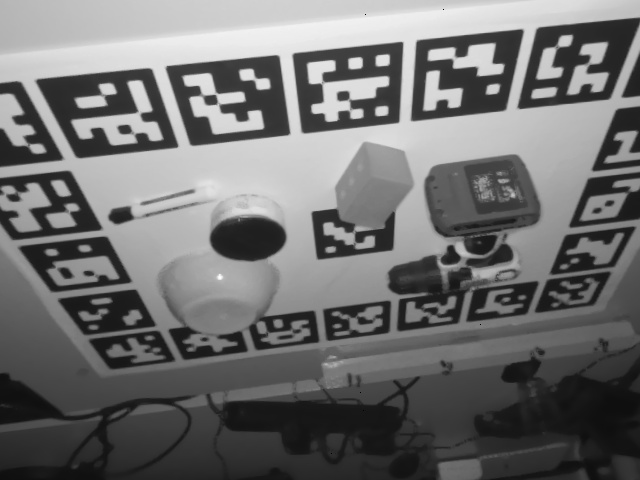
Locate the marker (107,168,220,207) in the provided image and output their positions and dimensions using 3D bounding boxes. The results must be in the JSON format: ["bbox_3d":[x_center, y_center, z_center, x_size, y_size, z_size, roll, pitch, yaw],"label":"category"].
[{"bbox_3d":[-0.167,-0.055,0.735,0.121,0.020,0.019,-11,140,5],"label":"marker"}]

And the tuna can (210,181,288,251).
[{"bbox_3d":[-0.079,-0.026,0.776,0.086,0.034,0.085,-3,141,-2],"label":"tuna can"}]

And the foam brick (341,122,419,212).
[{"bbox_3d":[0.063,-0.076,0.735,0.052,0.053,0.077,11,136,-20],"label":"foam brick"}]

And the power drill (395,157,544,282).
[{"bbox_3d":[0.183,-0.014,0.825,0.185,0.058,0.185,-4,144,1],"label":"power drill"}]

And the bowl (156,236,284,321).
[{"bbox_3d":[-0.123,0.058,0.873,0.162,0.055,0.160,-8,148,-4],"label":"bowl"}]
